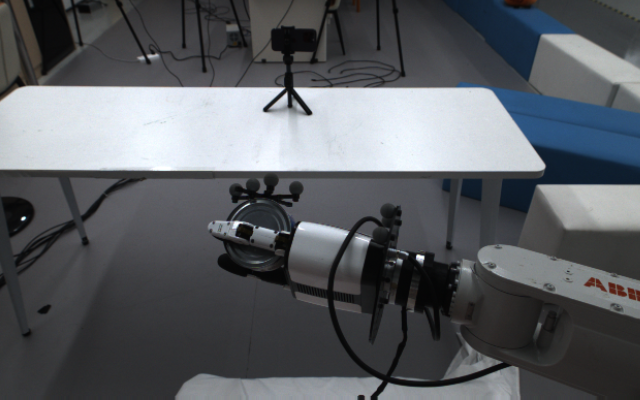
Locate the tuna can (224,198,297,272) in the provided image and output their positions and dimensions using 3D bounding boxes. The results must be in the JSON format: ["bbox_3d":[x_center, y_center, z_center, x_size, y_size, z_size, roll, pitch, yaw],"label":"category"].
[{"bbox_3d":[-0.070,0.042,0.582,0.085,0.034,0.085,-5,70,14],"label":"tuna can"}]
